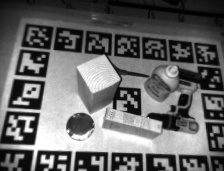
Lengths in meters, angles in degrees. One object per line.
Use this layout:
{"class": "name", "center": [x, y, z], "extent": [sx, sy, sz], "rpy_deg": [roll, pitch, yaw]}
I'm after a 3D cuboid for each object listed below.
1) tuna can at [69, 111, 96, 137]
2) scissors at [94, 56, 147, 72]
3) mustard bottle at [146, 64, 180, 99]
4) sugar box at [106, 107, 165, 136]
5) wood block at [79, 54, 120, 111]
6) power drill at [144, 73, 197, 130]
{"class": "tuna can", "center": [-0.094, 0.122, 0.689], "extent": [0.086, 0.034, 0.085], "rpy_deg": [3, 71, -8]}
{"class": "scissors", "center": [0.031, -0.062, 0.786], "extent": [0.203, 0.016, 0.087], "rpy_deg": [6, 66, -7]}
{"class": "mustard bottle", "center": [0.176, -0.023, 0.711], "extent": [0.059, 0.191, 0.096], "rpy_deg": [-37, 79, -17]}
{"class": "sugar box", "center": [0.074, 0.116, 0.691], "extent": [0.177, 0.093, 0.045], "rpy_deg": [15, 66, -5]}
{"class": "wood block", "center": [-0.042, -0.002, 0.663], "extent": [0.091, 0.206, 0.089], "rpy_deg": [-25, 76, -15]}
{"class": "power drill", "center": [0.215, 0.048, 0.754], "extent": [0.185, 0.057, 0.187], "rpy_deg": [16, 76, -3]}
